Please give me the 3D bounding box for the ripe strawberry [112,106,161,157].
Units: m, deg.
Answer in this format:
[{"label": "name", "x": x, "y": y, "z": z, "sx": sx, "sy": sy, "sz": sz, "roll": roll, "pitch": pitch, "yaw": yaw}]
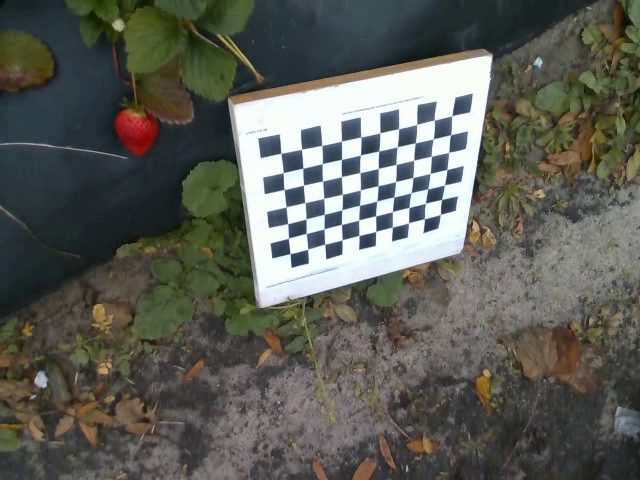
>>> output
[{"label": "ripe strawberry", "x": -0.116, "y": -0.068, "z": 0.373, "sx": 0.028, "sy": 0.033, "sz": 0.023, "roll": 1, "pitch": 31, "yaw": -19}]
